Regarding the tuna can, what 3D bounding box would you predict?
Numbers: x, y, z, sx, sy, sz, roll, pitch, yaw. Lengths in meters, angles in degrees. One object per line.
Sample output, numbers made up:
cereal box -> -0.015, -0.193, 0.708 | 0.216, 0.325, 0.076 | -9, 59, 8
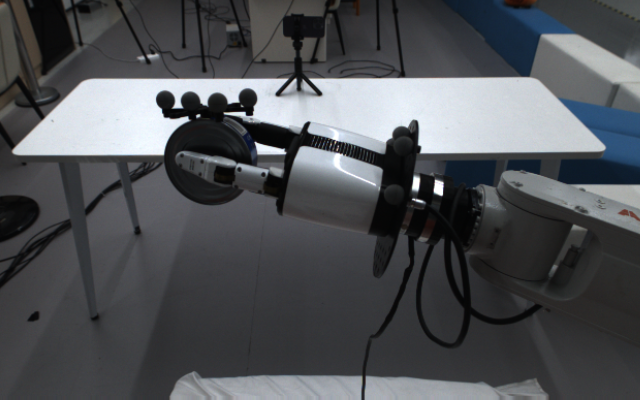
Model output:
tuna can -> -0.103, -0.036, 0.475 | 0.085, 0.085, 0.034 | 4, 18, 3
